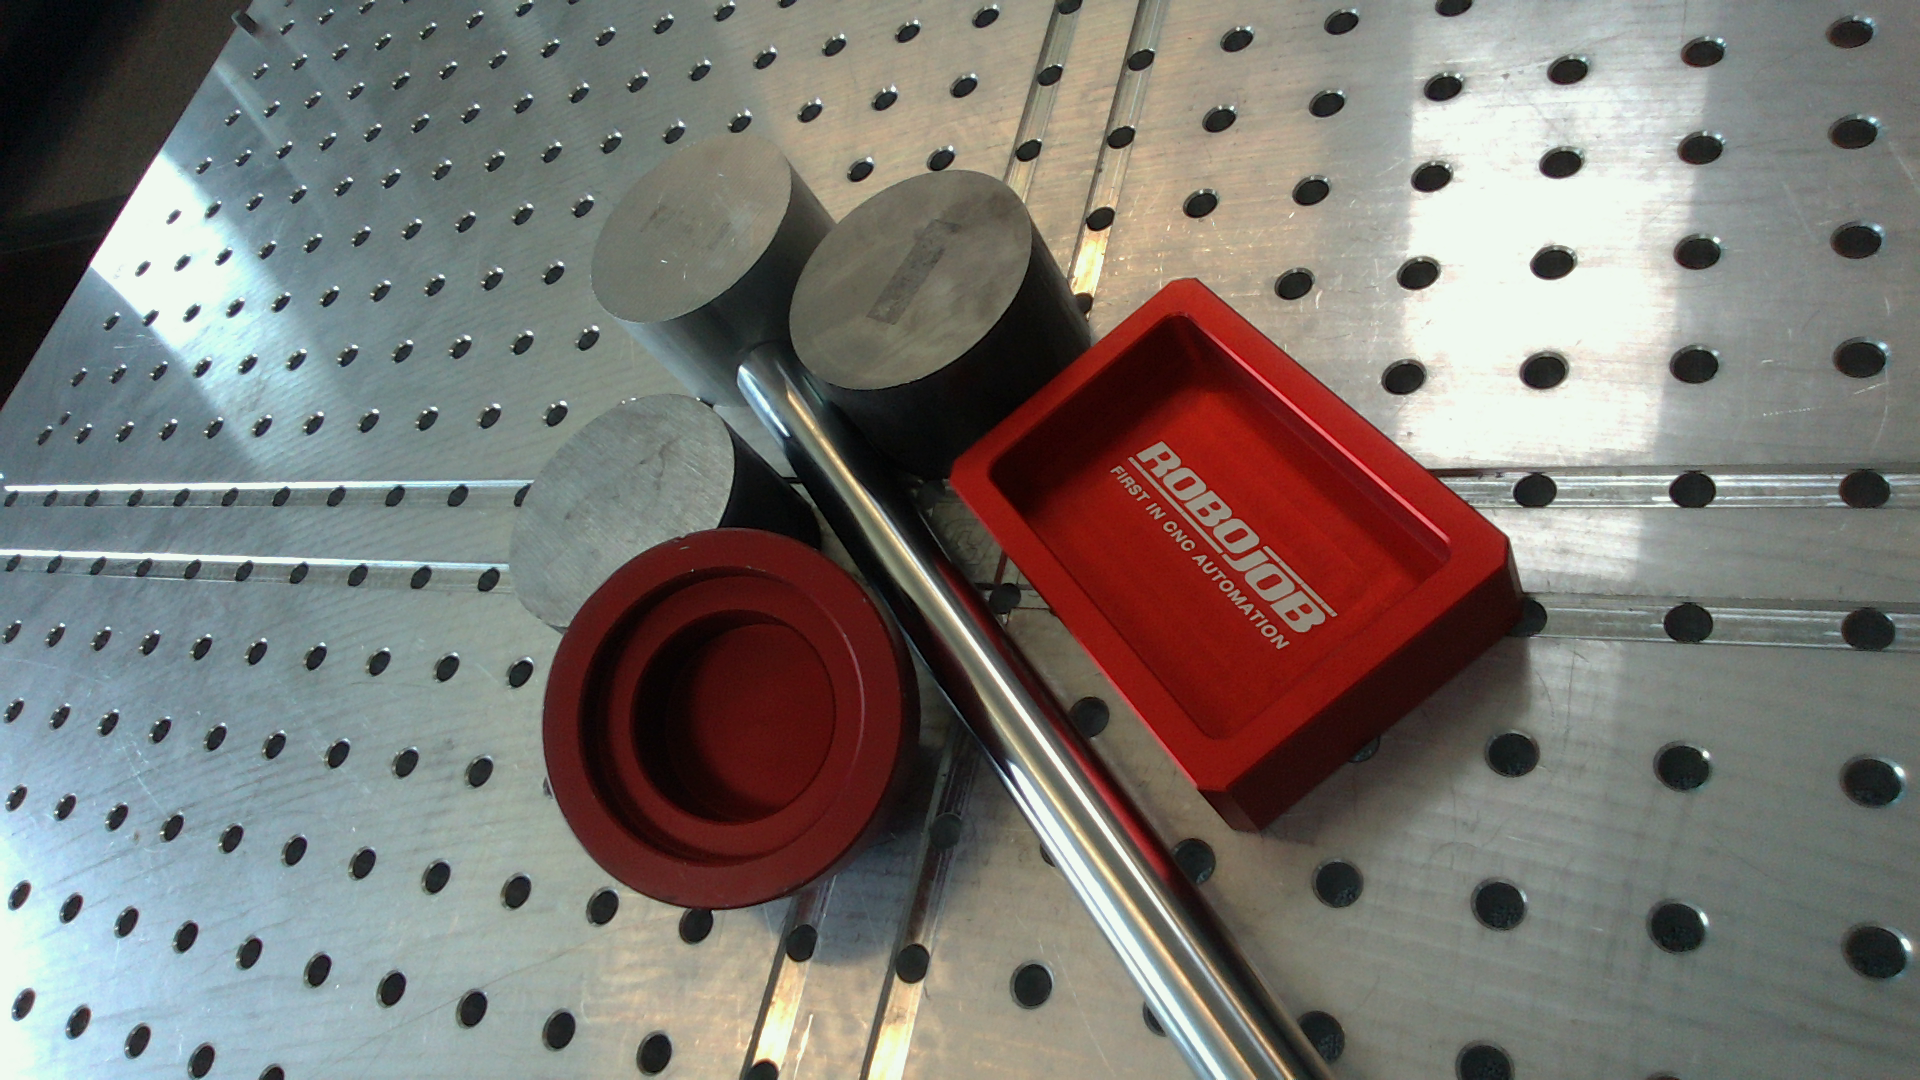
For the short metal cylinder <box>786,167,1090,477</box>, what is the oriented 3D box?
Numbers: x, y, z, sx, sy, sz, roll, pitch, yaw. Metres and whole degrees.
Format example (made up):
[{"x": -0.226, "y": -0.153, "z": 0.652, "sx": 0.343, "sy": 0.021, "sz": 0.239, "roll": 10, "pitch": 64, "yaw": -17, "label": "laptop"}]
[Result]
[{"x": -0.006, "y": -0.067, "z": 0.424, "sx": 0.080, "sy": 0.050, "sz": 0.080, "roll": -13, "pitch": 56, "yaw": 21, "label": "short metal cylinder"}]

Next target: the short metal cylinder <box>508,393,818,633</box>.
[{"x": -0.092, "y": 0.002, "z": 0.429, "sx": 0.080, "sy": 0.050, "sz": 0.080, "roll": -13, "pitch": 56, "yaw": 21, "label": "short metal cylinder"}]

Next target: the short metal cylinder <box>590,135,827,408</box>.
[{"x": -0.081, "y": -0.094, "z": 0.482, "sx": 0.080, "sy": 0.050, "sz": 0.080, "roll": -13, "pitch": 56, "yaw": 21, "label": "short metal cylinder"}]

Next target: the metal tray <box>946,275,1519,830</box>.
[{"x": 0.065, "y": -0.002, "z": 0.359, "sx": 0.090, "sy": 0.030, "sz": 0.130, "roll": -40, "pitch": 51, "yaw": 2, "label": "metal tray"}]

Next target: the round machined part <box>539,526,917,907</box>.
[{"x": -0.059, "y": 0.048, "z": 0.374, "sx": 0.098, "sy": 0.042, "sz": 0.098, "roll": -2, "pitch": 77, "yaw": 9, "label": "round machined part"}]

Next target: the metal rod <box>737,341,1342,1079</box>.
[{"x": 0.006, "y": 0.035, "z": 0.372, "sx": 0.025, "sy": 0.025, "sz": 0.299, "roll": -39, "pitch": 51, "yaw": 2, "label": "metal rod"}]
